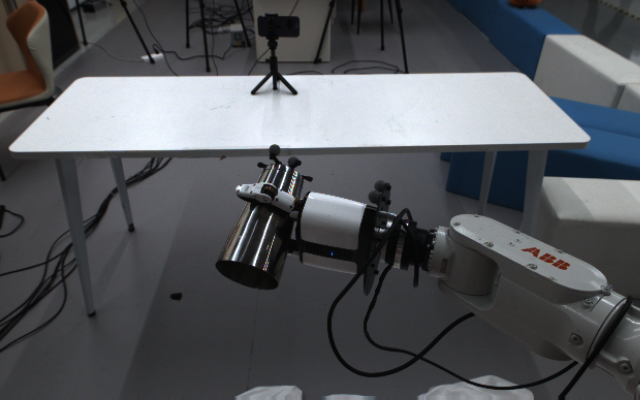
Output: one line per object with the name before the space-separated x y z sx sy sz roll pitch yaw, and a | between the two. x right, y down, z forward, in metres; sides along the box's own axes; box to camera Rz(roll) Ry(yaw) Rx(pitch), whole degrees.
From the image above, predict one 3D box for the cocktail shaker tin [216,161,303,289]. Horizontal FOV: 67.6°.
cocktail shaker tin | -0.078 0.033 0.702 0.093 0.093 0.170 11 60 12
